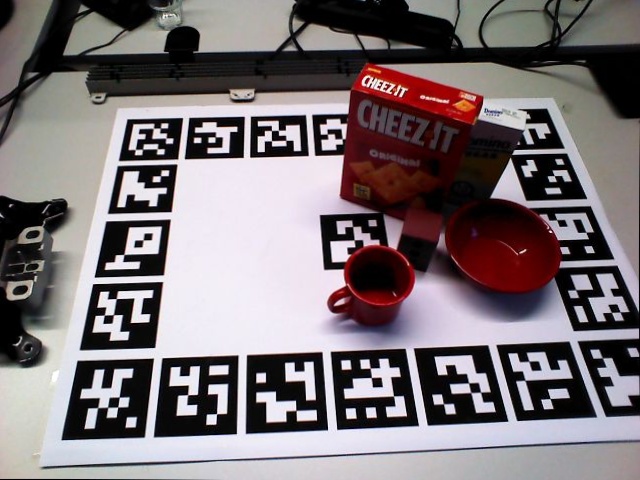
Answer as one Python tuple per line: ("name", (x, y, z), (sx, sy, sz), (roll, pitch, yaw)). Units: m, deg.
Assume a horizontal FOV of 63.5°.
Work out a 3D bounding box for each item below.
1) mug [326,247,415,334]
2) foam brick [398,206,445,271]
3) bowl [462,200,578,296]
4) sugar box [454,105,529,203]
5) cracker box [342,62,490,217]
("mug", (0.065, 0.072, 0.679), (0.117, 0.082, 0.093), (-10, 48, -5))
("foam brick", (0.143, -0.001, 0.741), (0.053, 0.078, 0.051), (11, 55, 7))
("bowl", (0.267, 0.019, 0.724), (0.162, 0.055, 0.160), (0, 57, -1))
("sugar box", (0.234, -0.128, 0.763), (0.093, 0.177, 0.045), (16, 57, 10))
("cracker box", (0.124, -0.124, 0.738), (0.165, 0.214, 0.071), (24, 56, 14))
